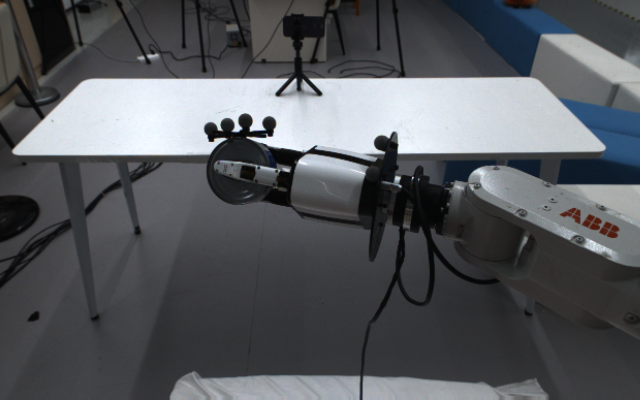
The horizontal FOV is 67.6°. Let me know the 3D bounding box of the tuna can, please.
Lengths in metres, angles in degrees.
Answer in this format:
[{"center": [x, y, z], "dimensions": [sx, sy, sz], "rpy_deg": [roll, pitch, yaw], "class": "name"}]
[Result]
[{"center": [-0.096, -0.036, 0.623], "dimensions": [0.085, 0.085, 0.034], "rpy_deg": [10, 2, 12], "class": "tuna can"}]
